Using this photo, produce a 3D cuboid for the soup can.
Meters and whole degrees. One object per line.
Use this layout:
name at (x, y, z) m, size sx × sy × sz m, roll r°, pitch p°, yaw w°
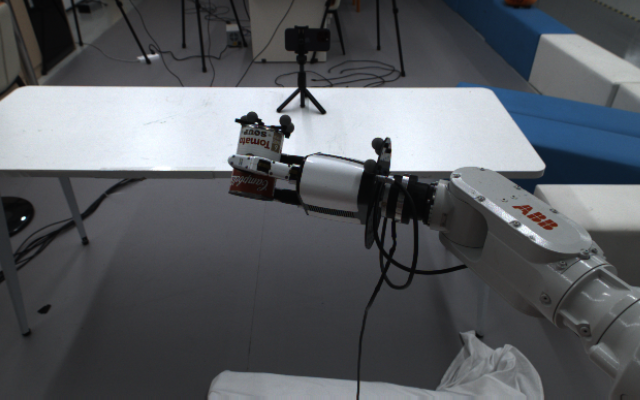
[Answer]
soup can at (-0.094, -0.054, 0.721) m, size 0.067 × 0.101 × 0.067 m, roll 9°, pitch -5°, yaw 1°
